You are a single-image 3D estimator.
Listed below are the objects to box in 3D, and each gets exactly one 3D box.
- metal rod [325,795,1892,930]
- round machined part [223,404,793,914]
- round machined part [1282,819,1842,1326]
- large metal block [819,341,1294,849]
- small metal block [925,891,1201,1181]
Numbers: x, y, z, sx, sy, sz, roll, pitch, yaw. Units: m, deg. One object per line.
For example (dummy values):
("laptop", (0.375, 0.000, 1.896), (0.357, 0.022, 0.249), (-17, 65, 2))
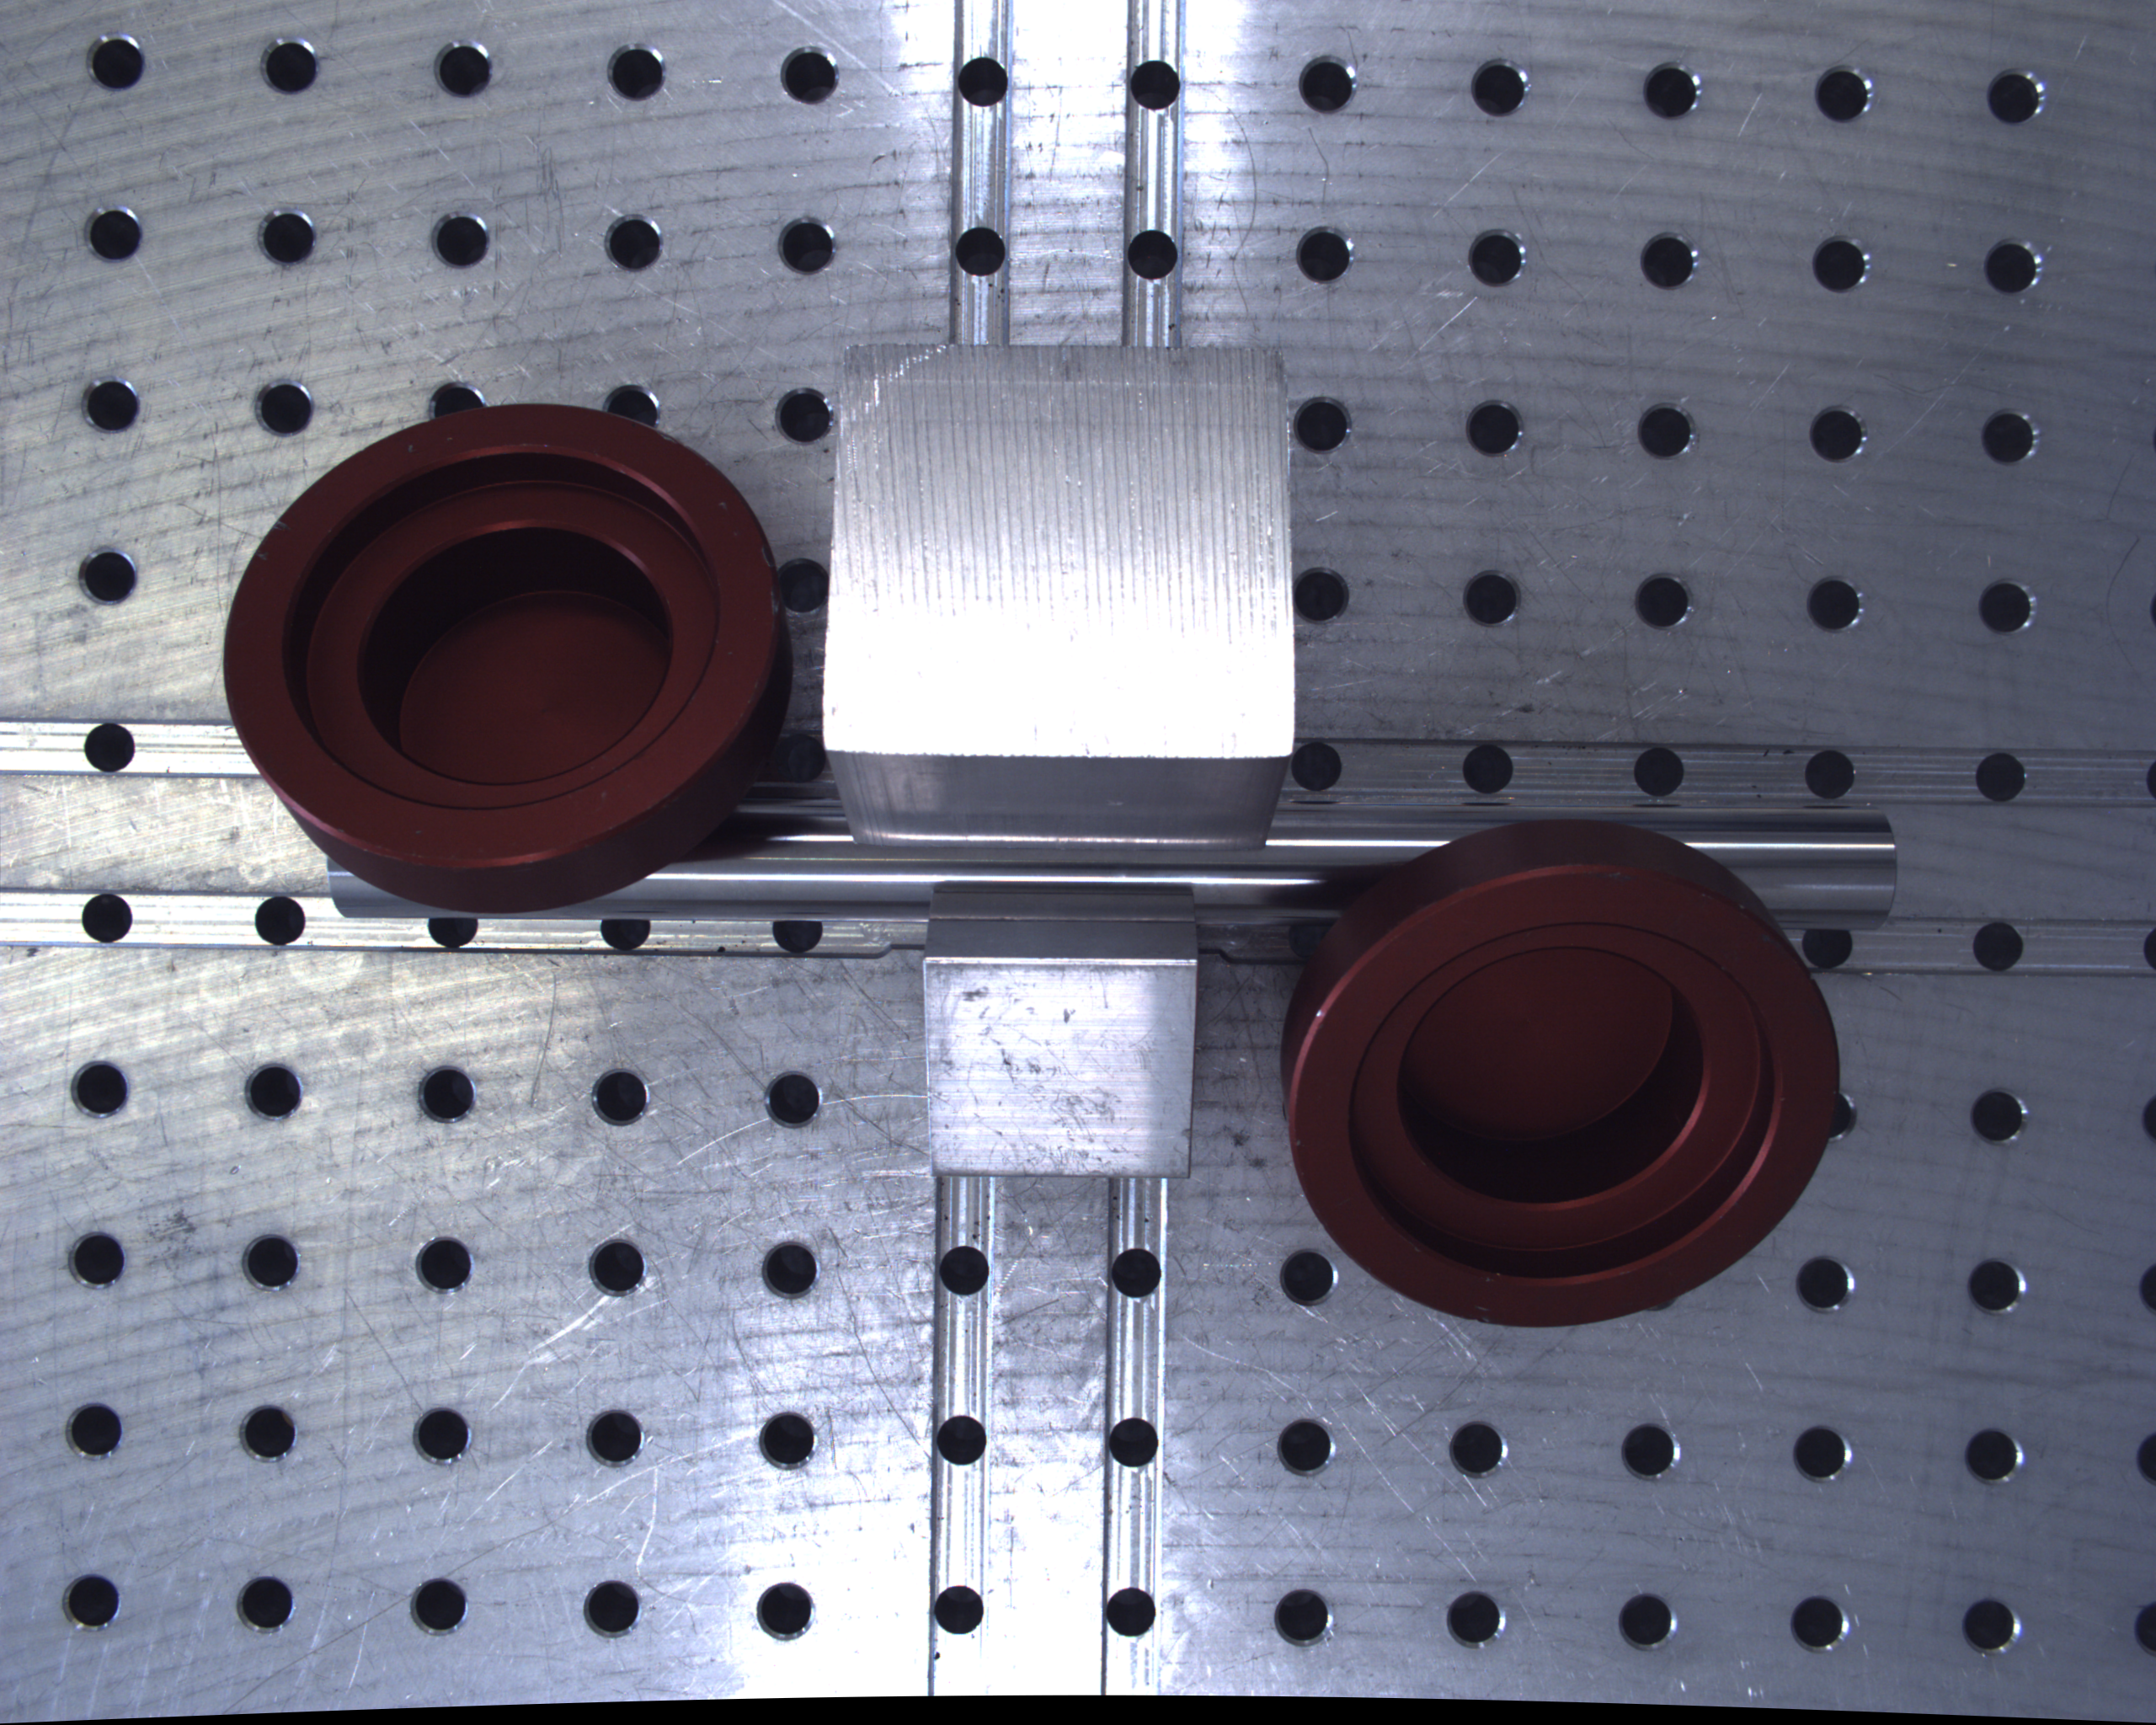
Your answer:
("metal rod", (0.006, 0.000, 0.414), (0.302, 0.025, 0.025), (1, 90, 0))
("round machined part", (-0.103, -0.034, 0.391), (0.099, 0.042, 0.098), (0, 64, 0))
("round machined part", (0.088, 0.036, 0.393), (0.099, 0.042, 0.097), (0, 115, 0))
("large metal block", (-0.003, -0.049, 0.389), (0.081, 0.050, 0.080), (1, 72, 0))
("small metal block", (-0.003, 0.034, 0.403), (0.050, 0.025, 0.050), (1, 119, 0))
